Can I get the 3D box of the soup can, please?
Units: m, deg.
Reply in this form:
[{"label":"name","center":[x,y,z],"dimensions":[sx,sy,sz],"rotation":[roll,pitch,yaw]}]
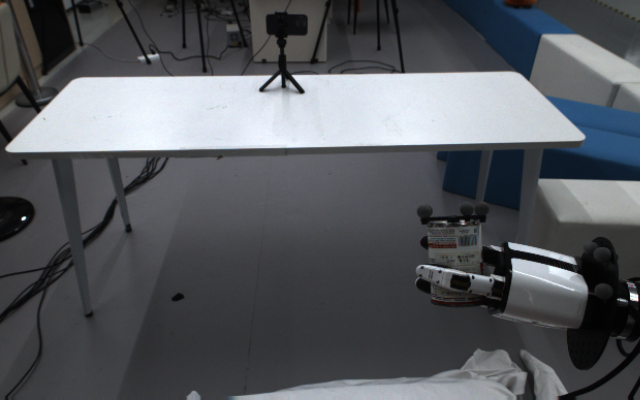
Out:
[{"label":"soup can","center":[0.173,0.078,0.610],"dimensions":[0.067,0.101,0.067],"rotation":[-3,-1,0]}]
